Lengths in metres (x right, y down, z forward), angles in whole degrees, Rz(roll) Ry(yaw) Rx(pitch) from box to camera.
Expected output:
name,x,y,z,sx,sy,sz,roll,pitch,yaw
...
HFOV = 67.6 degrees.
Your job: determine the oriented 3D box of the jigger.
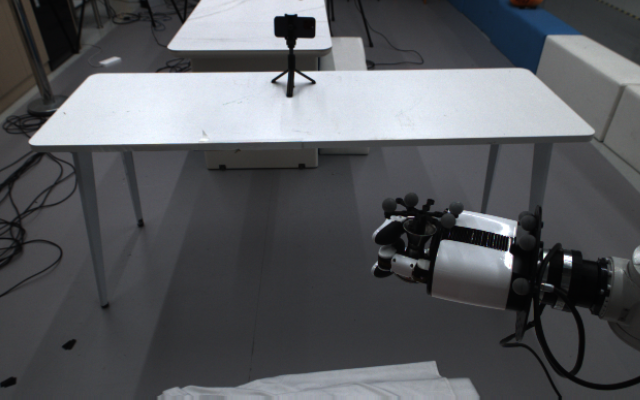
name,x,y,z,sx,sy,sz,roll,pitch,yaw
jigger,0.122,0.062,0.602,0.043,0.071,0.043,3,25,-1
